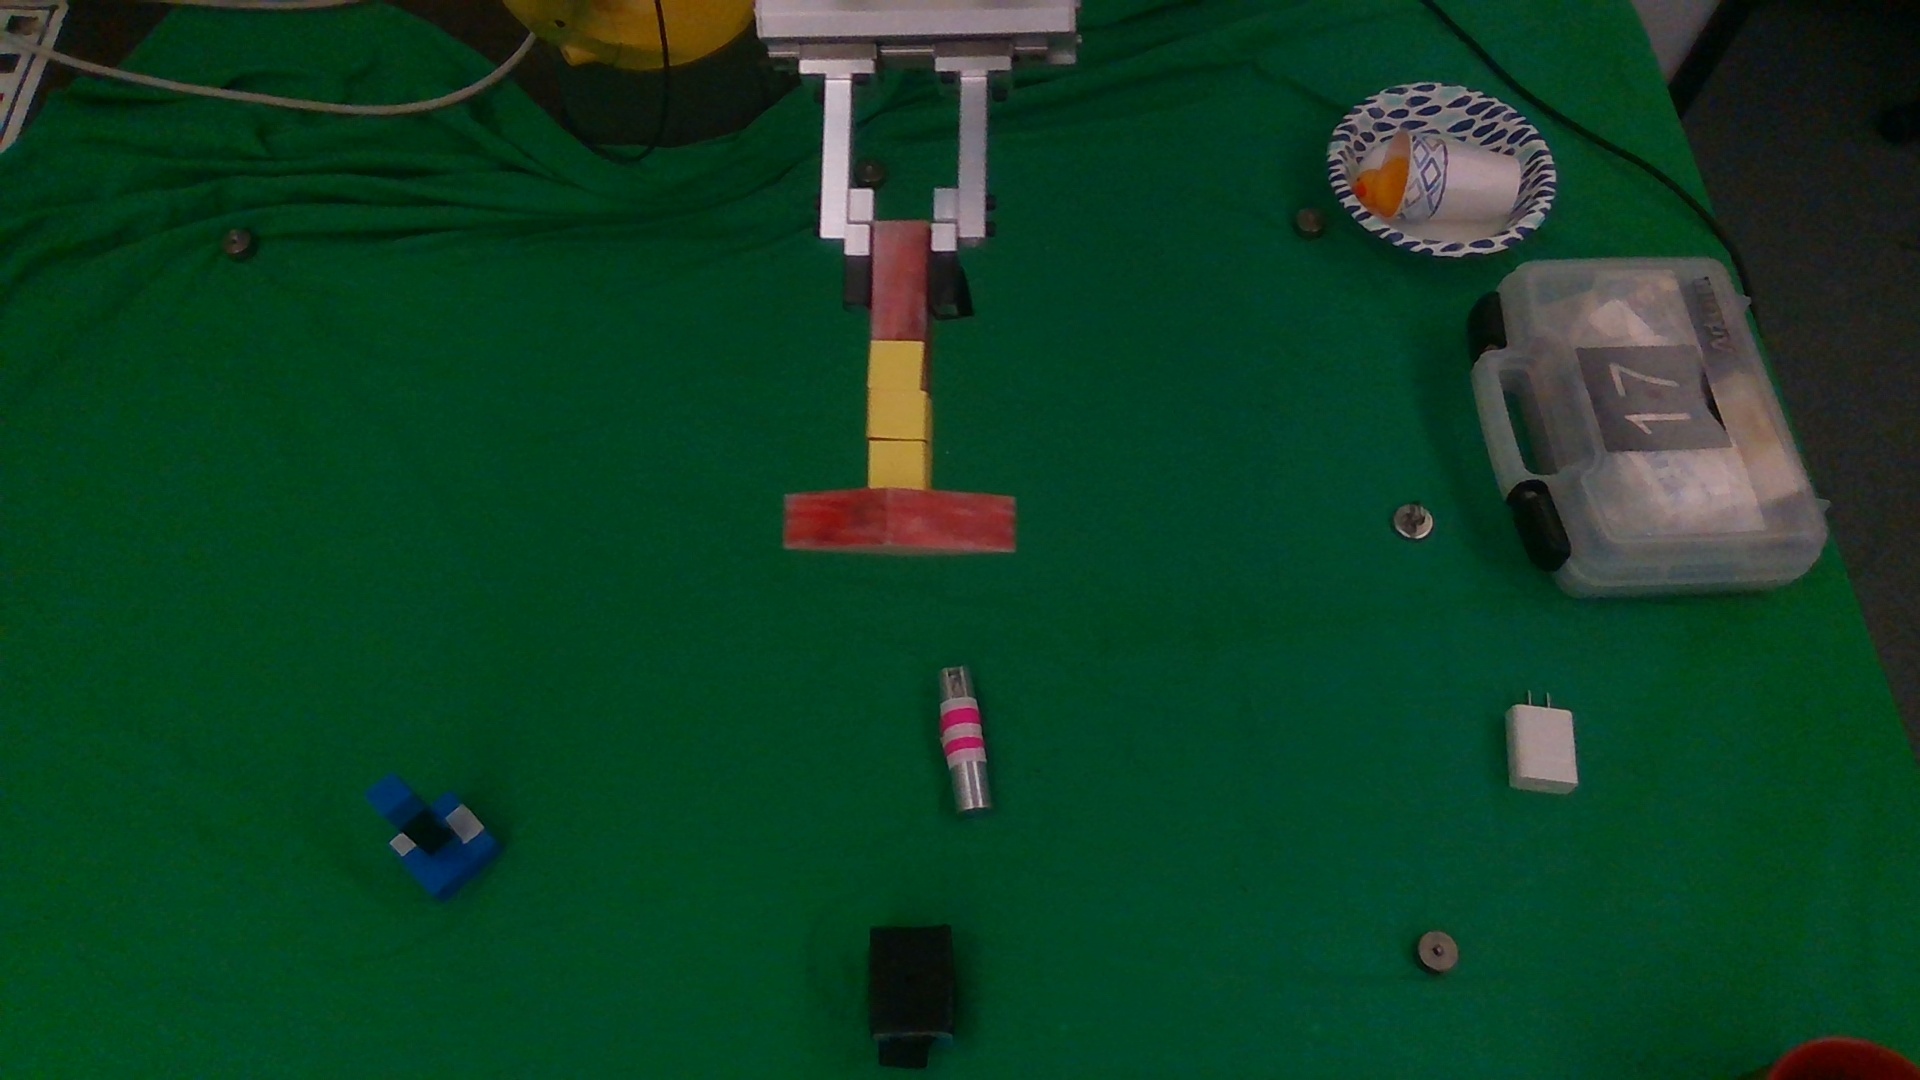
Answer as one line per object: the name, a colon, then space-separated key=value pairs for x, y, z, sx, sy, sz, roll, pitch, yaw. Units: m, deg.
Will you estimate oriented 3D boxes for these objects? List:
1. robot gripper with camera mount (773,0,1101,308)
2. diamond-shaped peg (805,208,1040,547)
robot gripper with camera mount: x=-0.011 y=-0.171 z=0.435 sx=0.119 sy=0.193 sz=0.158 roll=2 pitch=86 yaw=1
diamond-shaped peg: x=-0.012 y=-0.059 z=0.502 sx=0.074 sy=0.045 sz=0.122 roll=5 pitch=82 yaw=-20
